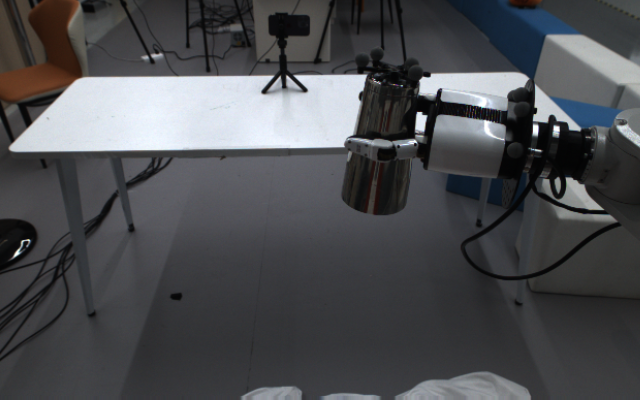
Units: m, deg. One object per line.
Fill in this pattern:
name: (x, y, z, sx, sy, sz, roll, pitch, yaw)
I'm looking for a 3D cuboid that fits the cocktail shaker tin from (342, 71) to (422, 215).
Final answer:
cocktail shaker tin: (0.082, -0.077, 0.632, 0.093, 0.170, 0.093, 4, 32, -2)
